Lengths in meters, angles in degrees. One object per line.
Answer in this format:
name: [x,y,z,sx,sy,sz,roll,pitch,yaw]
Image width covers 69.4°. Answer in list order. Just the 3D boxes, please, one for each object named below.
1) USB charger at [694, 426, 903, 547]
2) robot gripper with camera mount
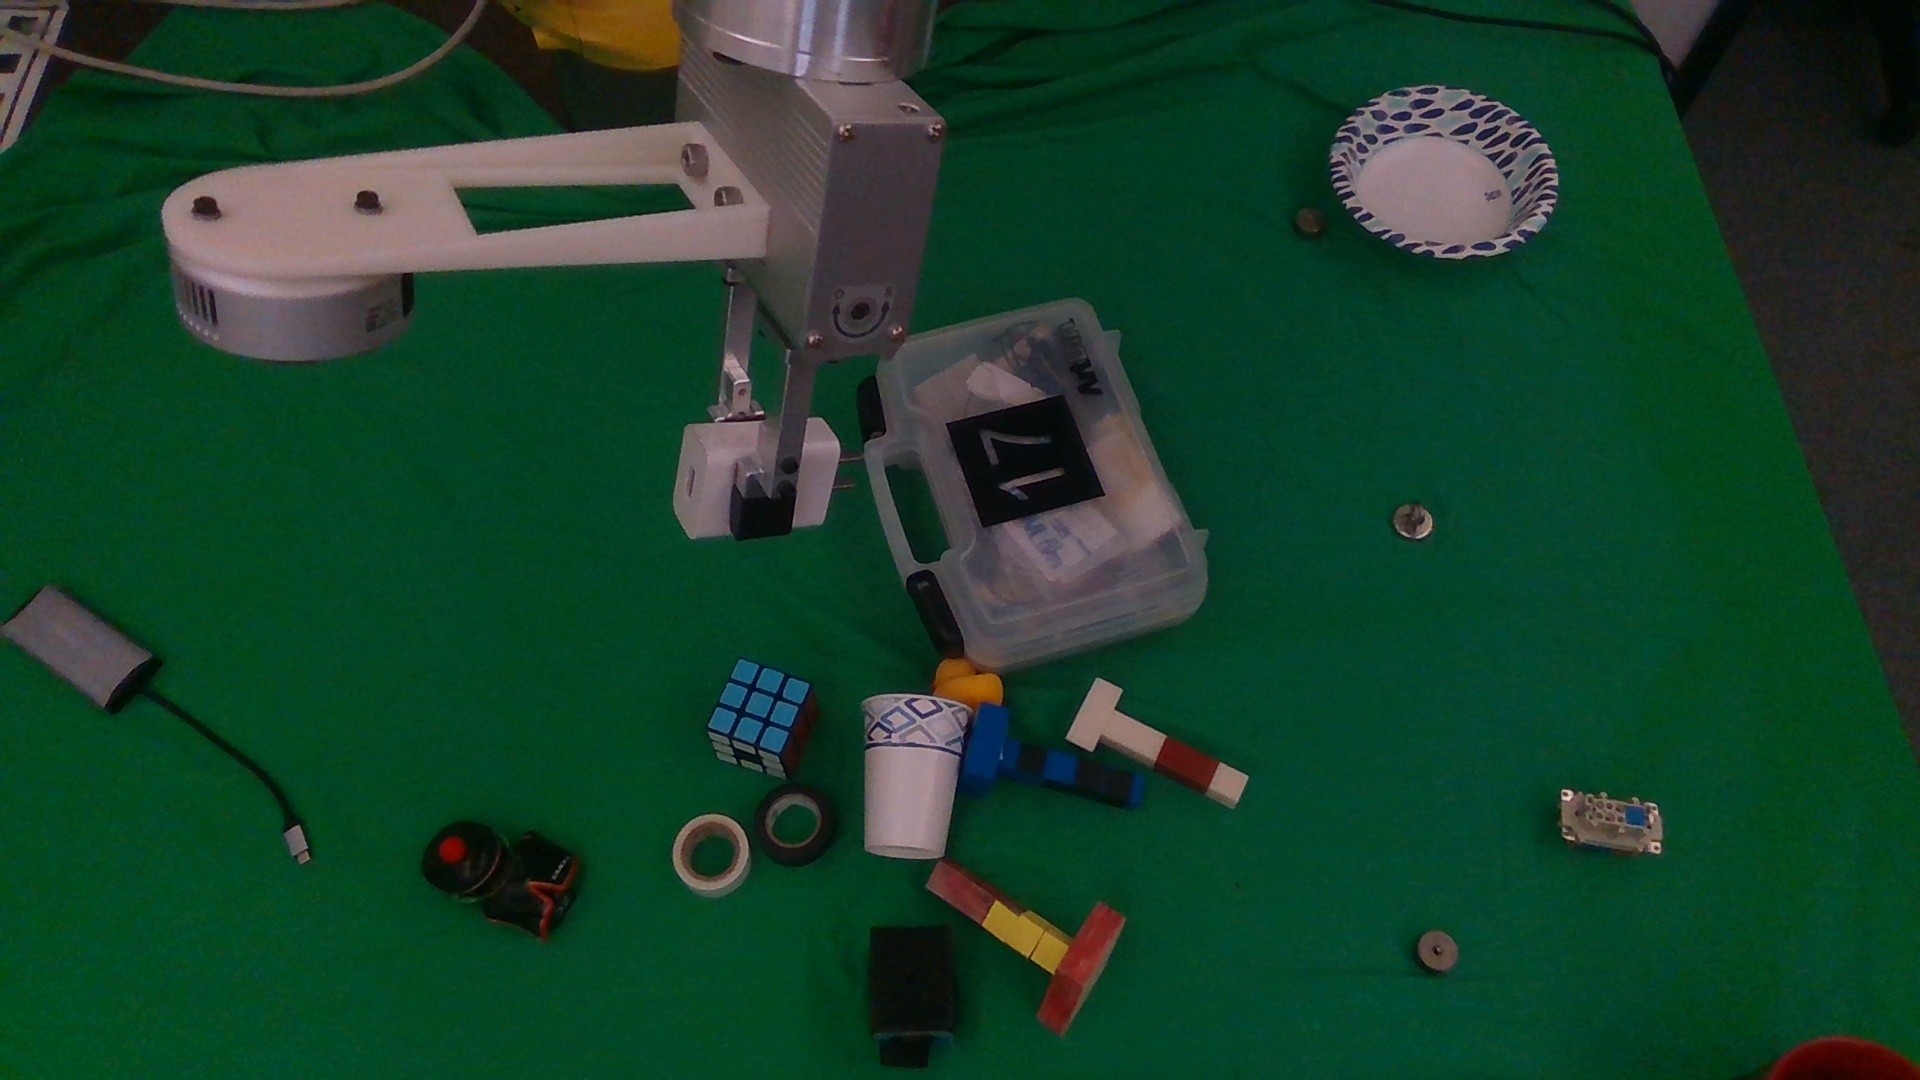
USB charger: [-0.058,-0.021,0.513,0.075,0.045,0.029,-4,41,-29]
robot gripper with camera mount: [-0.128,-0.062,0.439,0.193,0.158,0.119,-9,43,-21]
